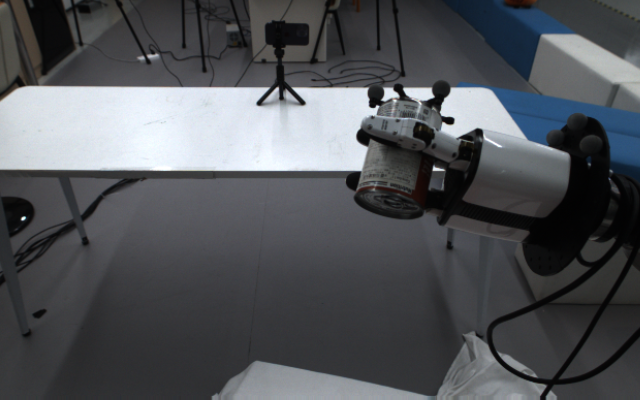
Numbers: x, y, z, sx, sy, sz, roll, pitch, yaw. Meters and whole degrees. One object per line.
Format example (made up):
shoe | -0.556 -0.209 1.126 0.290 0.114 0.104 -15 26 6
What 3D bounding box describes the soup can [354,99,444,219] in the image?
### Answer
soup can | 0.081 -0.041 0.477 0.067 0.067 0.101 11 72 13
